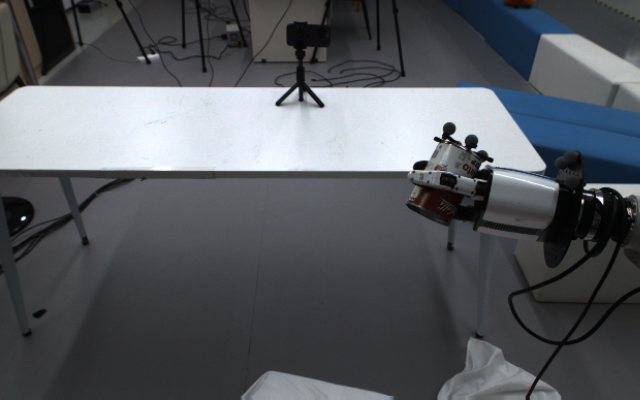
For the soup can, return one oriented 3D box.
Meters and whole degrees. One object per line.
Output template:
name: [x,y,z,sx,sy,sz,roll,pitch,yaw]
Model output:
soup can: [0.174,-0.024,0.678,0.067,0.101,0.067,29,-2,1]
